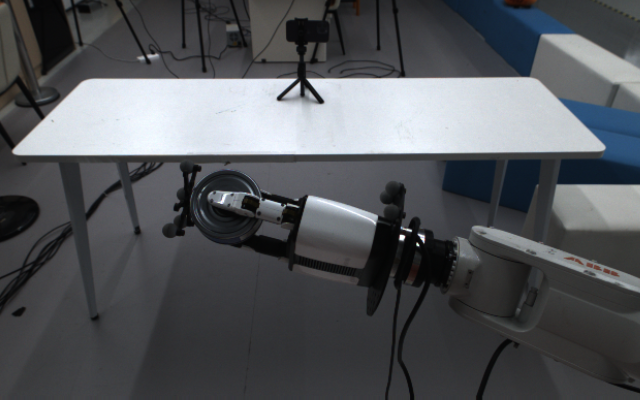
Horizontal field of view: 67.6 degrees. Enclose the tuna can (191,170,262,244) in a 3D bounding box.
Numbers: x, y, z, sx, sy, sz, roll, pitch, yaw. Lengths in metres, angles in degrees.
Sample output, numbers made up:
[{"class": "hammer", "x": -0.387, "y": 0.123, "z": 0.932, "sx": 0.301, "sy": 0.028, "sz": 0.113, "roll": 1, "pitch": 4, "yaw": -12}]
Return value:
[{"class": "tuna can", "x": -0.106, "y": 0.007, "z": 0.571, "sx": 0.085, "sy": 0.034, "sz": 0.085, "roll": 1, "pitch": 73, "yaw": -4}]
